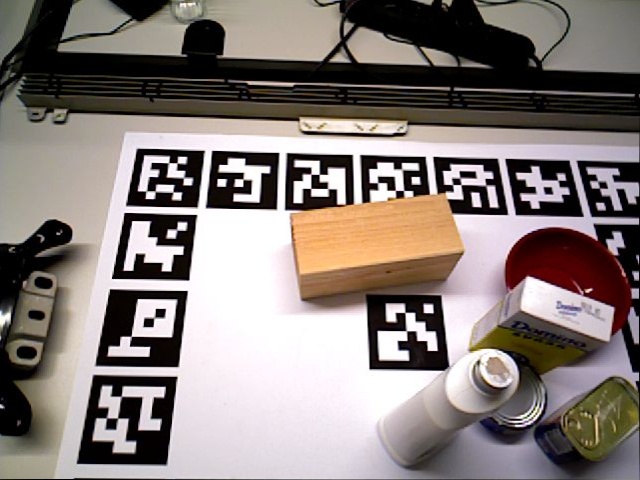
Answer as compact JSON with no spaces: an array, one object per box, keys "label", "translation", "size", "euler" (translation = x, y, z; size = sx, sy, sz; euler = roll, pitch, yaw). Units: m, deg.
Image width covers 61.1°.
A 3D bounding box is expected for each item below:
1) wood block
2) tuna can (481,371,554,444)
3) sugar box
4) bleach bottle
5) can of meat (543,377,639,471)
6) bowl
[{"label":"wood block","translation":[0.069,0.011,0.693],"size":[0.204,0.091,0.090],"euler":[-6,66,-7]},{"label":"tuna can","translation":[0.223,0.192,0.630],"size":[0.085,0.034,0.085],"euler":[0,65,-2]},{"label":"sugar box","translation":[0.249,0.104,0.596],"size":[0.093,0.179,0.044],"euler":[19,64,11]},{"label":"bleach bottle","translation":[0.130,0.158,0.524],"size":[0.101,0.255,0.067],"euler":[-21,63,-14]},{"label":"can of meat","translation":[0.309,0.208,0.604],"size":[0.100,0.085,0.057],"euler":[-25,63,-17]},{"label":"bowl","translation":[0.325,0.065,0.692],"size":[0.161,0.056,0.159],"euler":[-1,62,1]}]
